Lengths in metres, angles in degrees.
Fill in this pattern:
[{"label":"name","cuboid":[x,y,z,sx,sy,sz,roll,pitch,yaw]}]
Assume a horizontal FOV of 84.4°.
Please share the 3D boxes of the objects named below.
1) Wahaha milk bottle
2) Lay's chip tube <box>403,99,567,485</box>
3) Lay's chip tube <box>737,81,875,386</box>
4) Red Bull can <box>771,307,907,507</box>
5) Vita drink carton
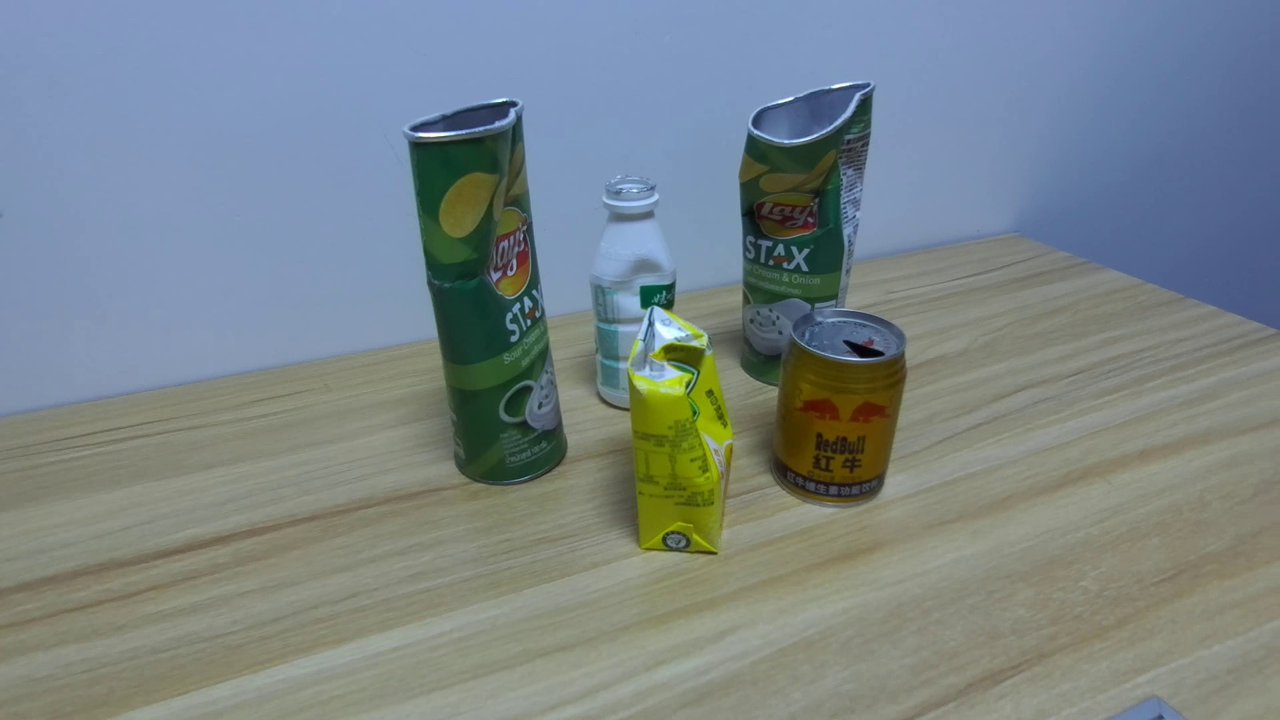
[{"label":"Wahaha milk bottle","cuboid":[-0.004,-0.039,0.454,0.055,0.149,0.055,1,27,0]},{"label":"Lay's chip tube","cuboid":[-0.081,-0.031,0.391,0.069,0.200,0.074,-13,31,-19]},{"label":"Lay's chip tube","cuboid":[0.105,-0.074,0.468,0.079,0.199,0.071,5,38,12]},{"label":"Red Bull can","cuboid":[0.110,0.026,0.393,0.067,0.093,0.067,1,28,0]},{"label":"Vita drink carton","cuboid":[0.023,0.035,0.359,0.046,0.110,0.071,2,31,10]}]
